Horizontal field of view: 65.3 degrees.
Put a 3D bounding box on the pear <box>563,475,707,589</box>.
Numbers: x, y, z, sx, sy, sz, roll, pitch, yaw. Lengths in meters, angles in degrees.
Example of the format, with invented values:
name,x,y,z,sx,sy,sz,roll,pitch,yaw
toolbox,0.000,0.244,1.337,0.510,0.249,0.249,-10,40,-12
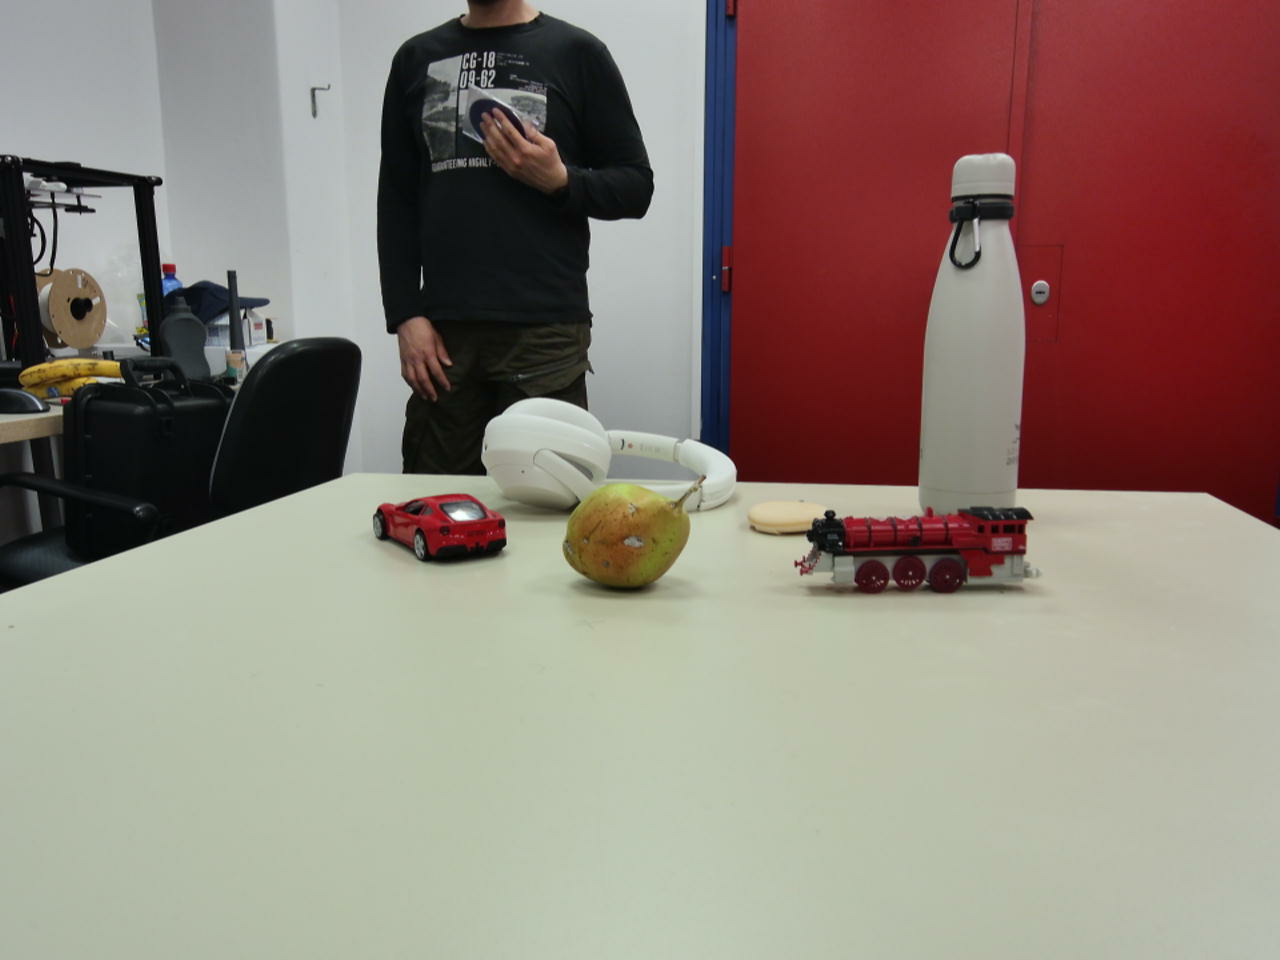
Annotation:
name,x,y,z,sx,sy,sz,roll,pitch,yaw
pear,-0.008,0.030,0.593,0.068,0.069,0.070,-3,8,-27
